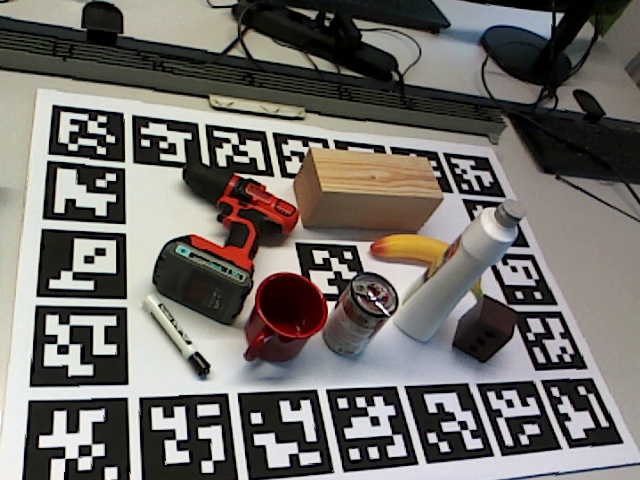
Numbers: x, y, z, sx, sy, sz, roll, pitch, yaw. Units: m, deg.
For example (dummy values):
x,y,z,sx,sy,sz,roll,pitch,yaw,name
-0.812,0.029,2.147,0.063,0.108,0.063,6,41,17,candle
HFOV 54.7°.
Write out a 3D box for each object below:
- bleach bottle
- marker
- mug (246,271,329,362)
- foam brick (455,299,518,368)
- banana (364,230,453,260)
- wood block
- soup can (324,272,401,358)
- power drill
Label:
x,y,z,sx,sy,sz,roll,pitch,yaw,name
0.184,0.040,0.817,0.068,0.251,0.102,26,45,-2,bleach bottle
-0.169,0.123,0.750,0.019,0.019,0.121,-27,68,-36,marker
-0.051,0.106,0.770,0.093,0.081,0.117,38,50,6,mug
0.236,0.134,0.883,0.053,0.078,0.051,28,44,2,foam brick
0.162,0.022,0.964,0.197,0.039,0.074,17,61,-13,banana
0.078,-0.066,0.970,0.205,0.091,0.090,2,53,-23,wood block
0.053,0.099,0.802,0.067,0.102,0.068,14,44,-14,soup can
-0.129,-0.002,0.850,0.184,0.057,0.187,28,45,-5,power drill
